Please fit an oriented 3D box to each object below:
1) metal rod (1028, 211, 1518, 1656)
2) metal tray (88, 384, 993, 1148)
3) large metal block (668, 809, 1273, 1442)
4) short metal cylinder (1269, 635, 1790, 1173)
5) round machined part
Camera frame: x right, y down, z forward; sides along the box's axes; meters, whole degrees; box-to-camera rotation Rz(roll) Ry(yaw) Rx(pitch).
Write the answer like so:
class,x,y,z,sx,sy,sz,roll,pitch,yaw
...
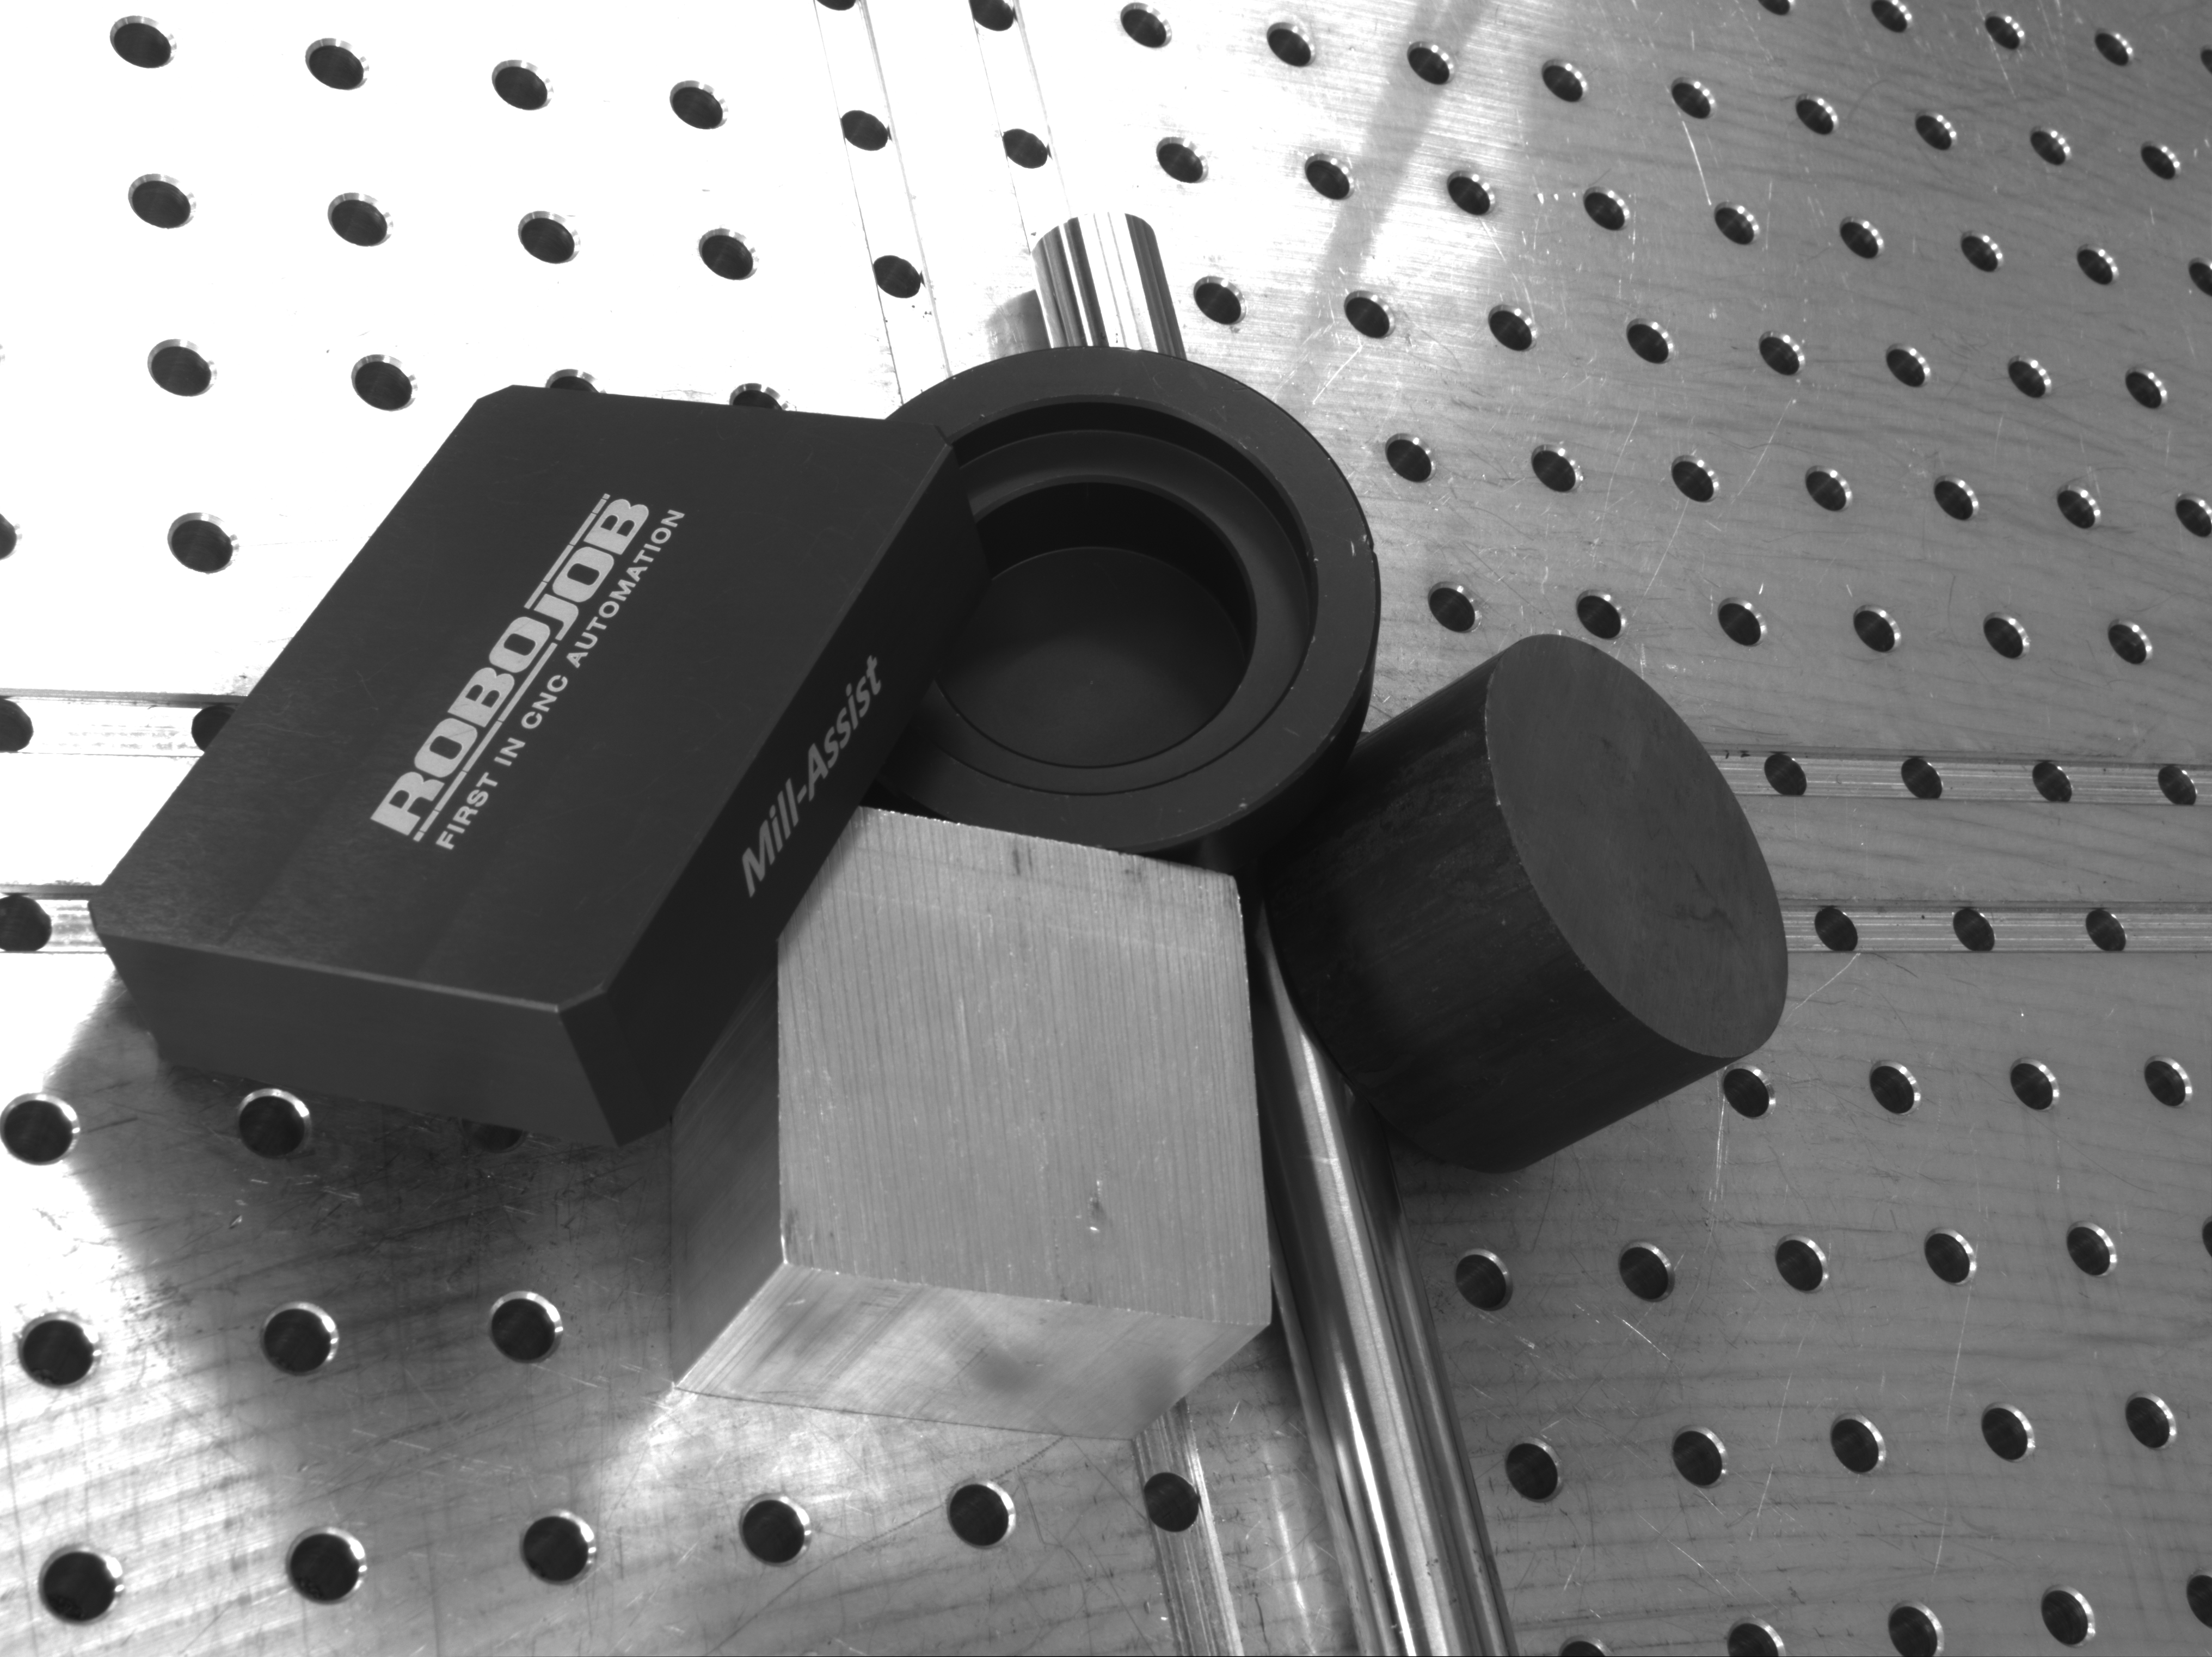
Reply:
class,x,y,z,sx,sy,sz,roll,pitch,yaw
metal rod,0.028,0.020,0.646,0.025,0.025,0.300,1,61,-27
metal tray,-0.084,-0.014,0.571,0.090,0.030,0.130,8,48,23
large metal block,-0.023,0.047,0.585,0.080,0.050,0.080,10,57,-23
short metal cylinder,0.074,0.013,0.641,0.080,0.050,0.080,31,43,-33
round machined part,-0.003,-0.031,0.633,0.098,0.042,0.098,0,64,1
